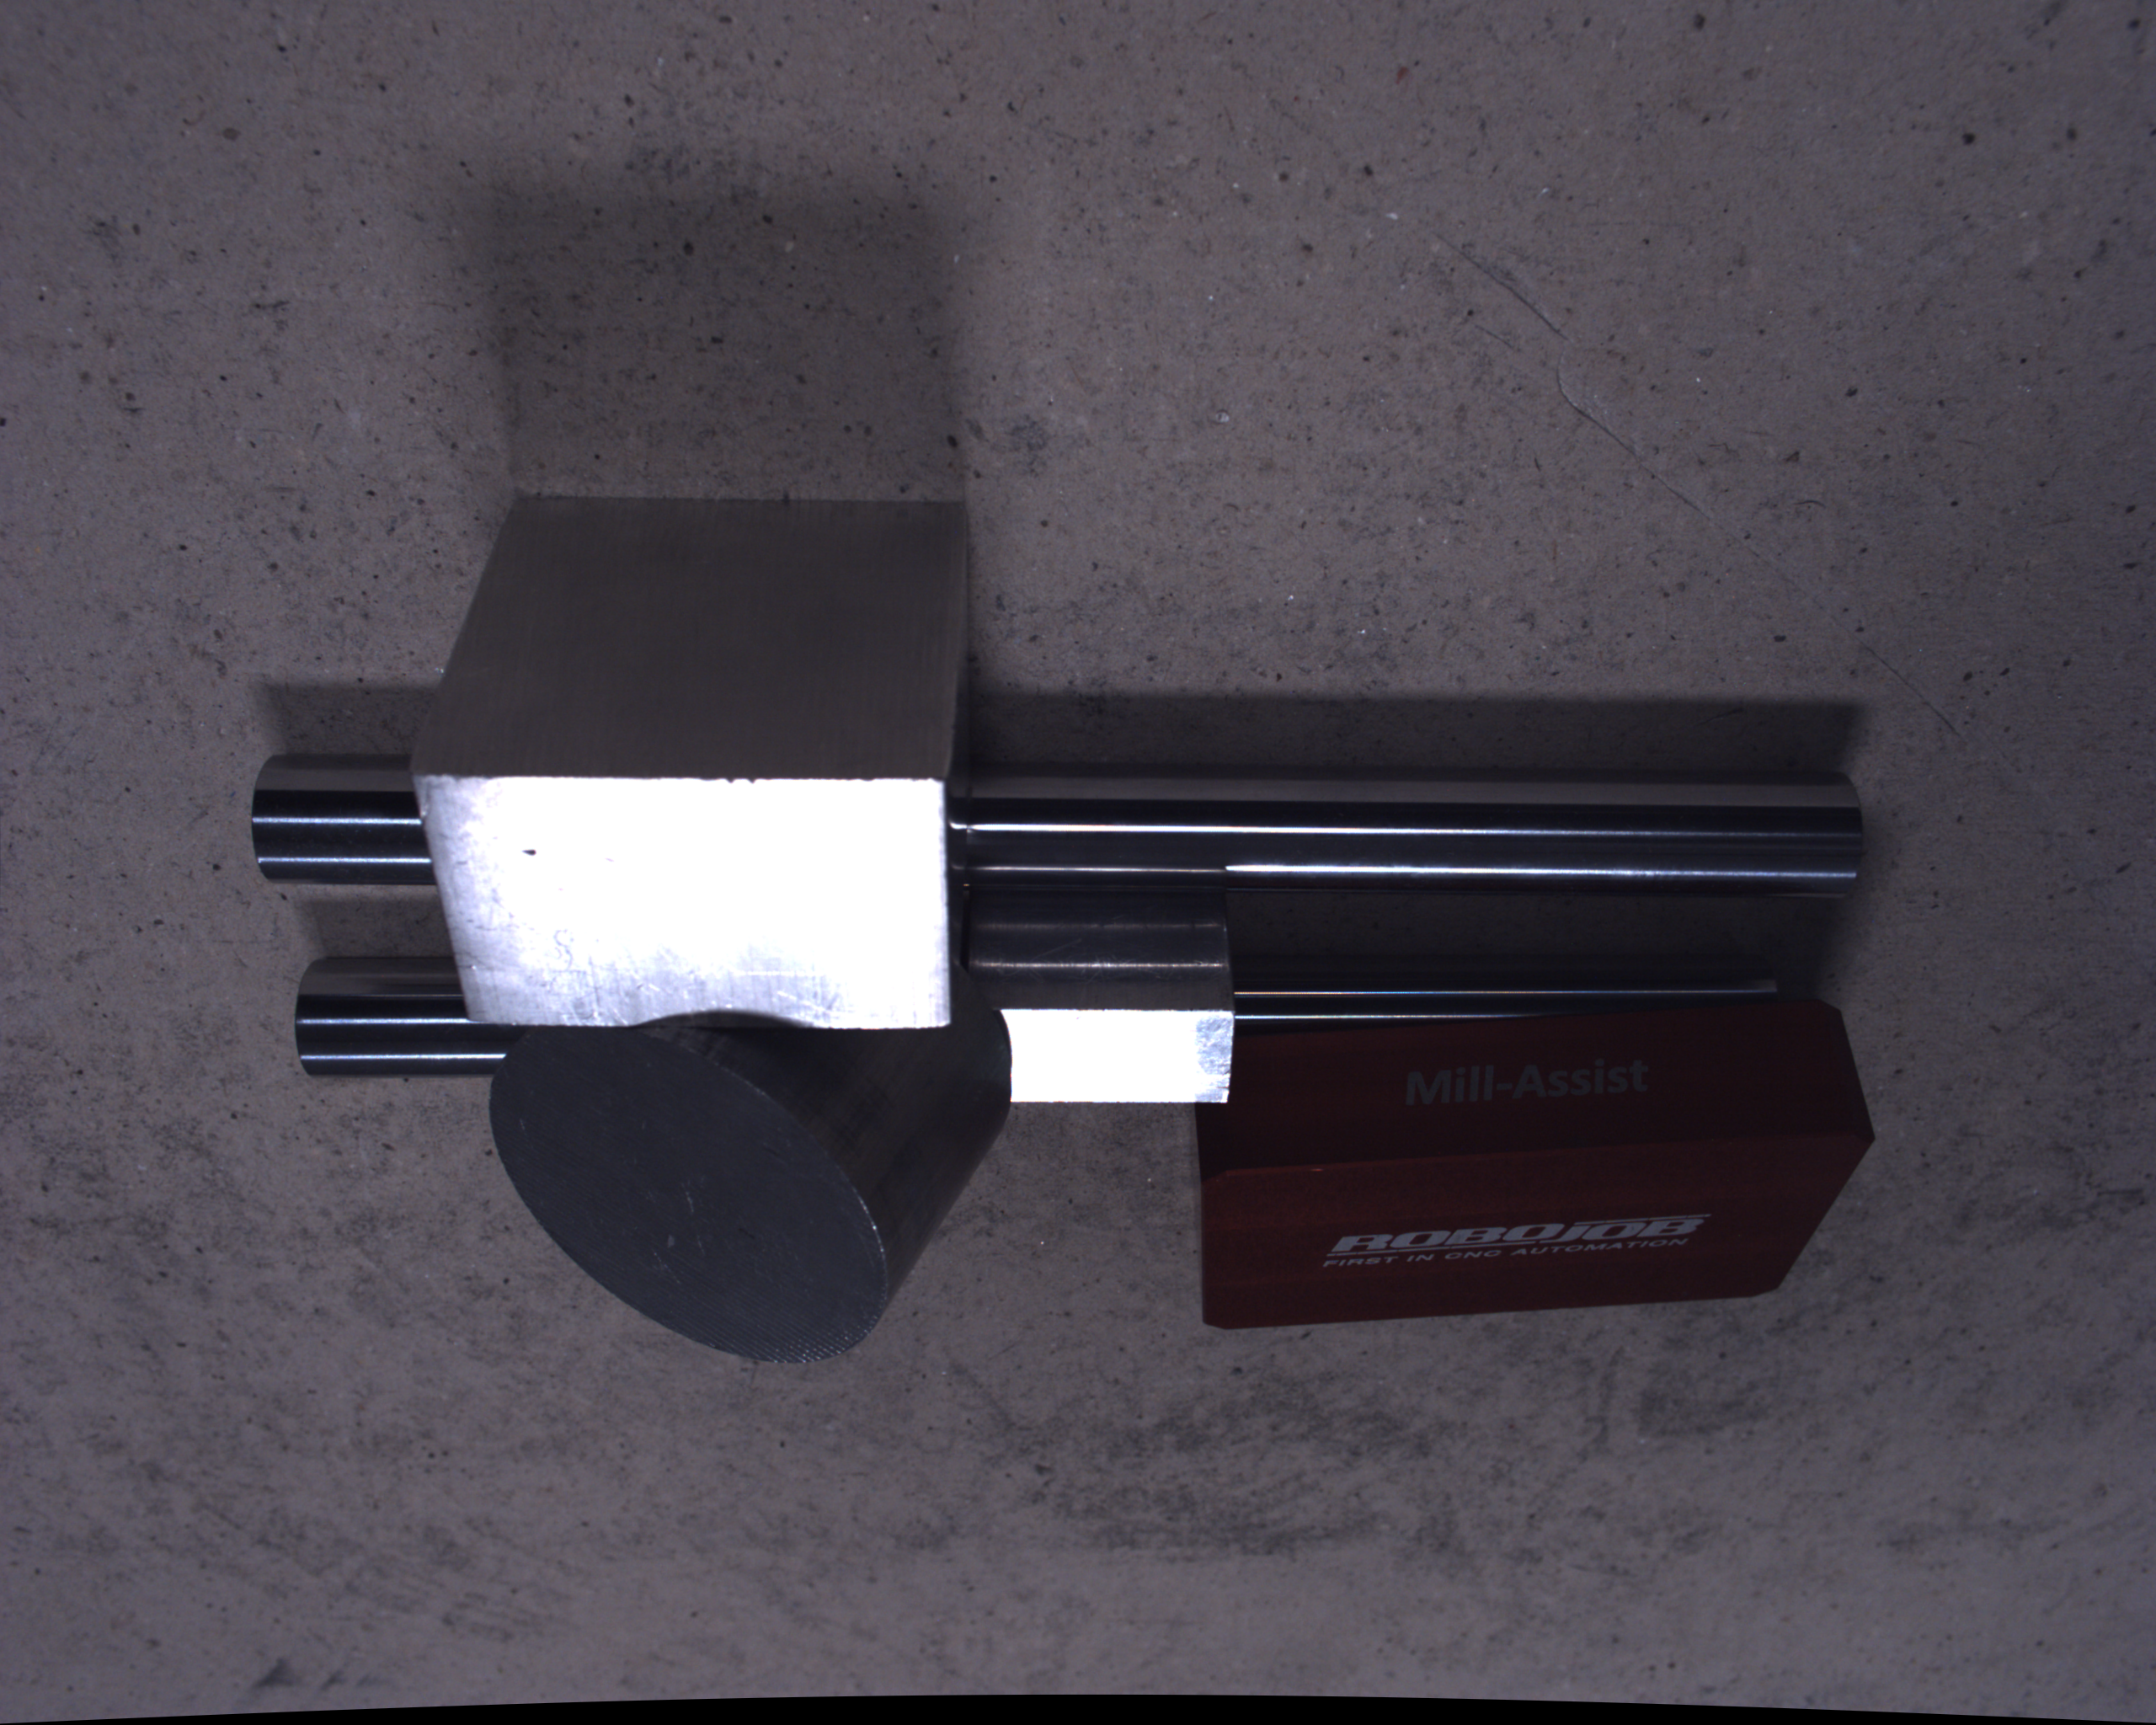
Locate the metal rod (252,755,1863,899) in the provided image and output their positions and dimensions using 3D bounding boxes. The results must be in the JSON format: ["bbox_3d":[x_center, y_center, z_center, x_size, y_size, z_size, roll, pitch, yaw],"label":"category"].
[{"bbox_3d":[-0.003,-0.007,0.403,0.302,0.025,0.025,1,130,-1],"label":"metal rod"}]

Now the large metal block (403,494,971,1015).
[{"bbox_3d":[-0.060,-0.020,0.355,0.081,0.080,0.050,1,130,-1],"label":"large metal block"}]

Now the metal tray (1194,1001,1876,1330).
[{"bbox_3d":[0.091,0.067,0.445,0.131,0.030,0.090,-4,148,1],"label":"metal tray"}]

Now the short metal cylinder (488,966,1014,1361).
[{"bbox_3d":[-0.059,0.045,0.383,0.080,0.050,0.079,15,131,18],"label":"short metal cylinder"}]

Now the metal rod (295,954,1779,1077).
[{"bbox_3d":[-0.008,0.032,0.436,0.302,0.025,0.025,0,130,-1],"label":"metal rod"}]

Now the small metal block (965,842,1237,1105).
[{"bbox_3d":[0.004,0.021,0.409,0.050,0.050,0.025,1,130,-1],"label":"small metal block"}]
